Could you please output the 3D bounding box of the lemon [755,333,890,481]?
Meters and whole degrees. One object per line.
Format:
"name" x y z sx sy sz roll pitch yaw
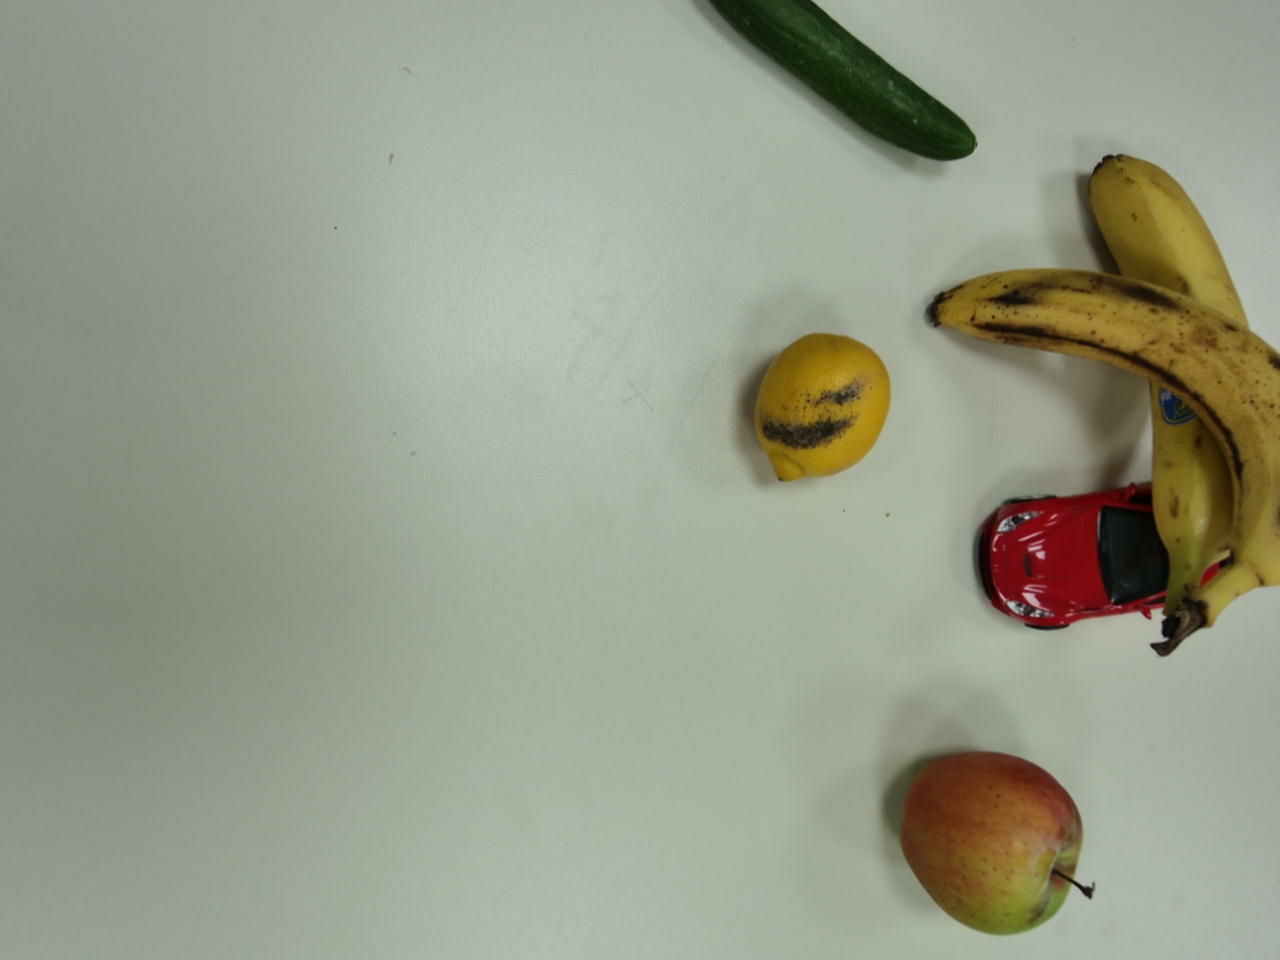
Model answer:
"lemon" 0.078 -0.032 0.431 0.058 0.056 0.061 -8 92 -11
